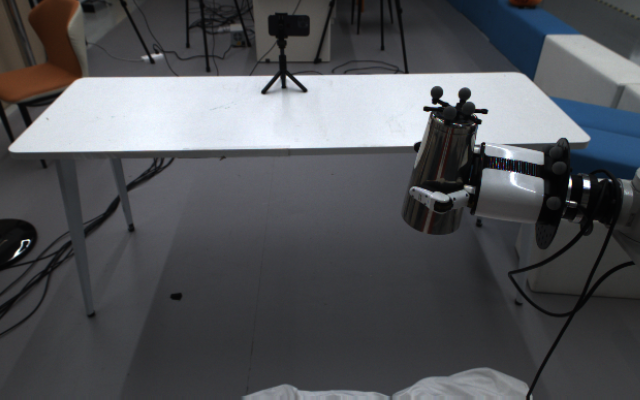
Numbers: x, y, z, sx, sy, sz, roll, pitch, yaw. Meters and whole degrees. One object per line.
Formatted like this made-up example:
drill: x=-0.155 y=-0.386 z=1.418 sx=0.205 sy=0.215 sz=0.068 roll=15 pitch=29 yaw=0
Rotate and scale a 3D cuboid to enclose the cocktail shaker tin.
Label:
cocktail shaker tin: x=0.179 y=-0.046 z=0.707 sx=0.093 sy=0.170 sz=0.093 roll=3 pitch=34 yaw=-2
